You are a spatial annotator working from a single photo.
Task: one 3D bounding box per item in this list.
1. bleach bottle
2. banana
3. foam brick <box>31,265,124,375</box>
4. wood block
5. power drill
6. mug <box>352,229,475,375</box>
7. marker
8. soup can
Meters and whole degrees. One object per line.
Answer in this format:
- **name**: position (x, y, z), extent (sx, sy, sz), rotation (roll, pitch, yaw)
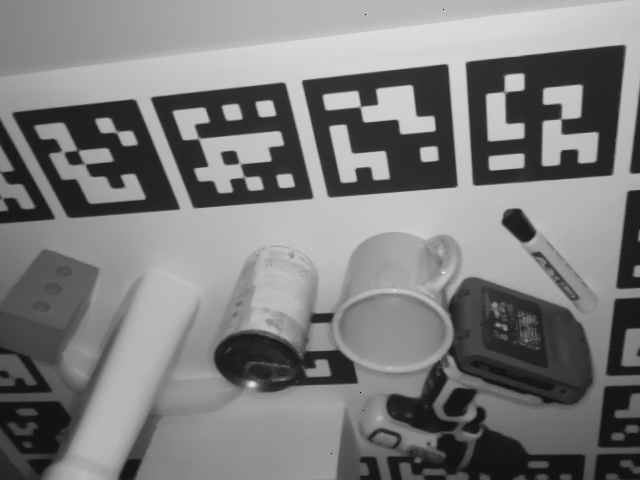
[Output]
- **bleach bottle**: position (-0.142, 0.149, 0.563), extent (0.068, 0.253, 0.101), rotation (15, 128, -3)
- **banana**: position (-0.134, 0.174, 0.711), extent (0.197, 0.039, 0.073), rotation (6, 113, 6)
- **foam brick**: position (-0.218, 0.071, 0.627), extent (0.053, 0.079, 0.050), rotation (18, 129, -7)
- **wood block**: position (-0.035, 0.246, 0.723), extent (0.205, 0.092, 0.089), rotation (-9, 123, 15)
- **power drill**: position (0.169, 0.137, 0.639), extent (0.185, 0.058, 0.184), rotation (17, 128, 0)
- **mug**: position (0.082, 0.039, 0.556), extent (0.093, 0.082, 0.115), rotation (28, 122, -10)
- **marker**: position (0.196, 0.000, 0.555), extent (0.121, 0.020, 0.019), rotation (41, 119, -20)
- **soup can**: position (-0.022, 0.067, 0.572), extent (0.068, 0.103, 0.067), rotation (5, 131, 6)
